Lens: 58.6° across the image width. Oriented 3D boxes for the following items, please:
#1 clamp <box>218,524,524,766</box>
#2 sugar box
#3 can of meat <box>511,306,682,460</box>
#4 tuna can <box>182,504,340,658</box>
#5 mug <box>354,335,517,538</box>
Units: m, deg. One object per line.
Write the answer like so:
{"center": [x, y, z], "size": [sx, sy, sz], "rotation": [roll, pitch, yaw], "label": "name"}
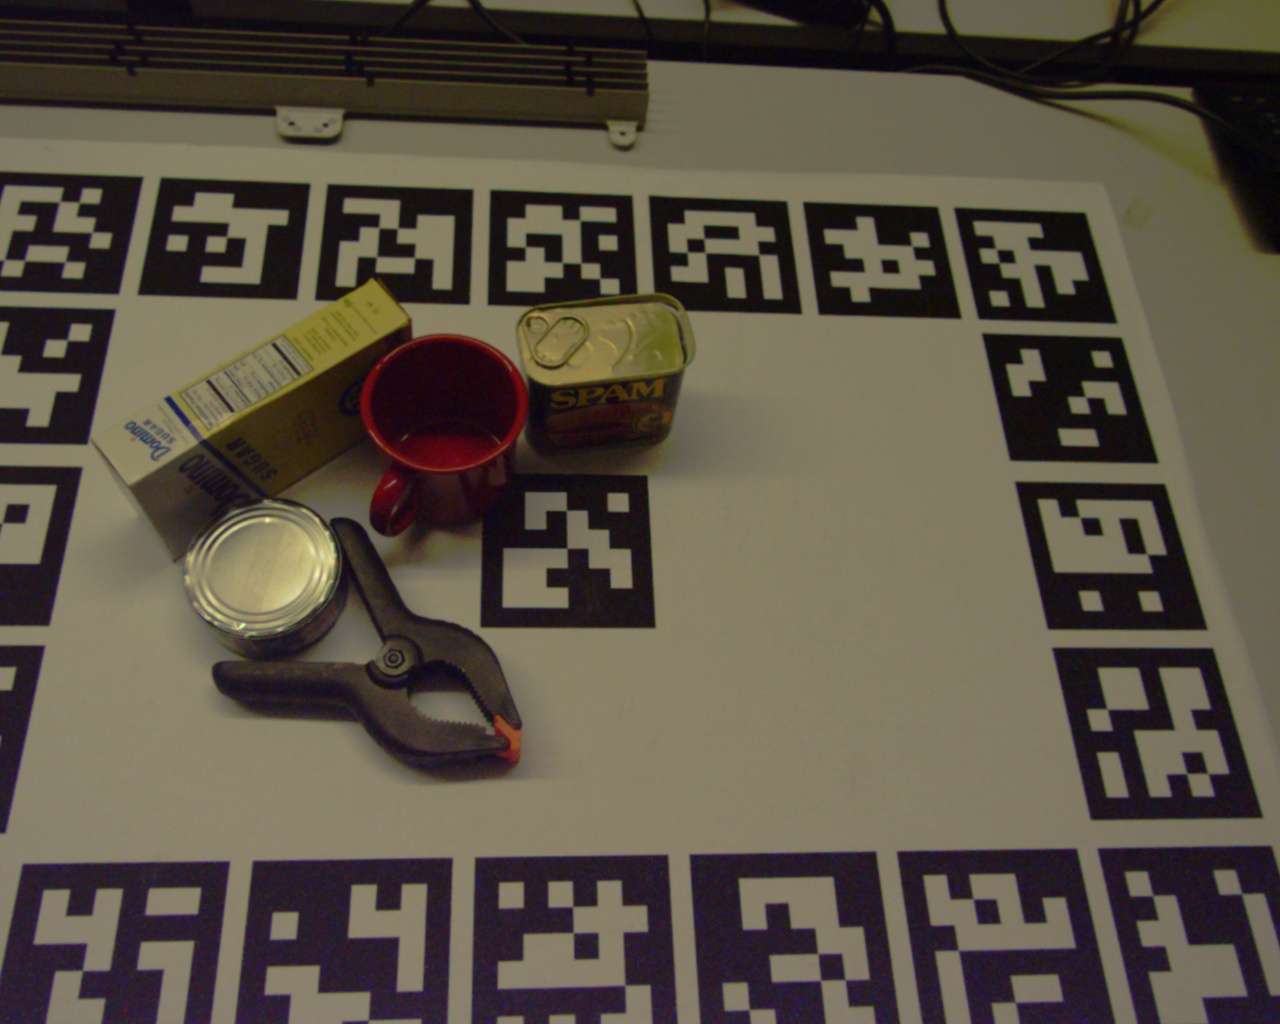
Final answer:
{"center": [-0.139, 0.092, 0.654], "size": [0.165, 0.036, 0.121], "rotation": [33, 60, 5], "label": "clamp"}
{"center": [-0.219, -0.048, 0.682], "size": [0.175, 0.093, 0.045], "rotation": [-37, 72, -23], "label": "sugar box"}
{"center": [-0.032, -0.080, 0.724], "size": [0.101, 0.084, 0.058], "rotation": [-8, 64, -12], "label": "can of meat"}
{"center": [-0.219, 0.041, 0.664], "size": [0.085, 0.034, 0.086], "rotation": [2, 65, -5], "label": "tuna can"}
{"center": [-0.126, -0.036, 0.684], "size": [0.093, 0.081, 0.117], "rotation": [22, 65, 3], "label": "mug"}
